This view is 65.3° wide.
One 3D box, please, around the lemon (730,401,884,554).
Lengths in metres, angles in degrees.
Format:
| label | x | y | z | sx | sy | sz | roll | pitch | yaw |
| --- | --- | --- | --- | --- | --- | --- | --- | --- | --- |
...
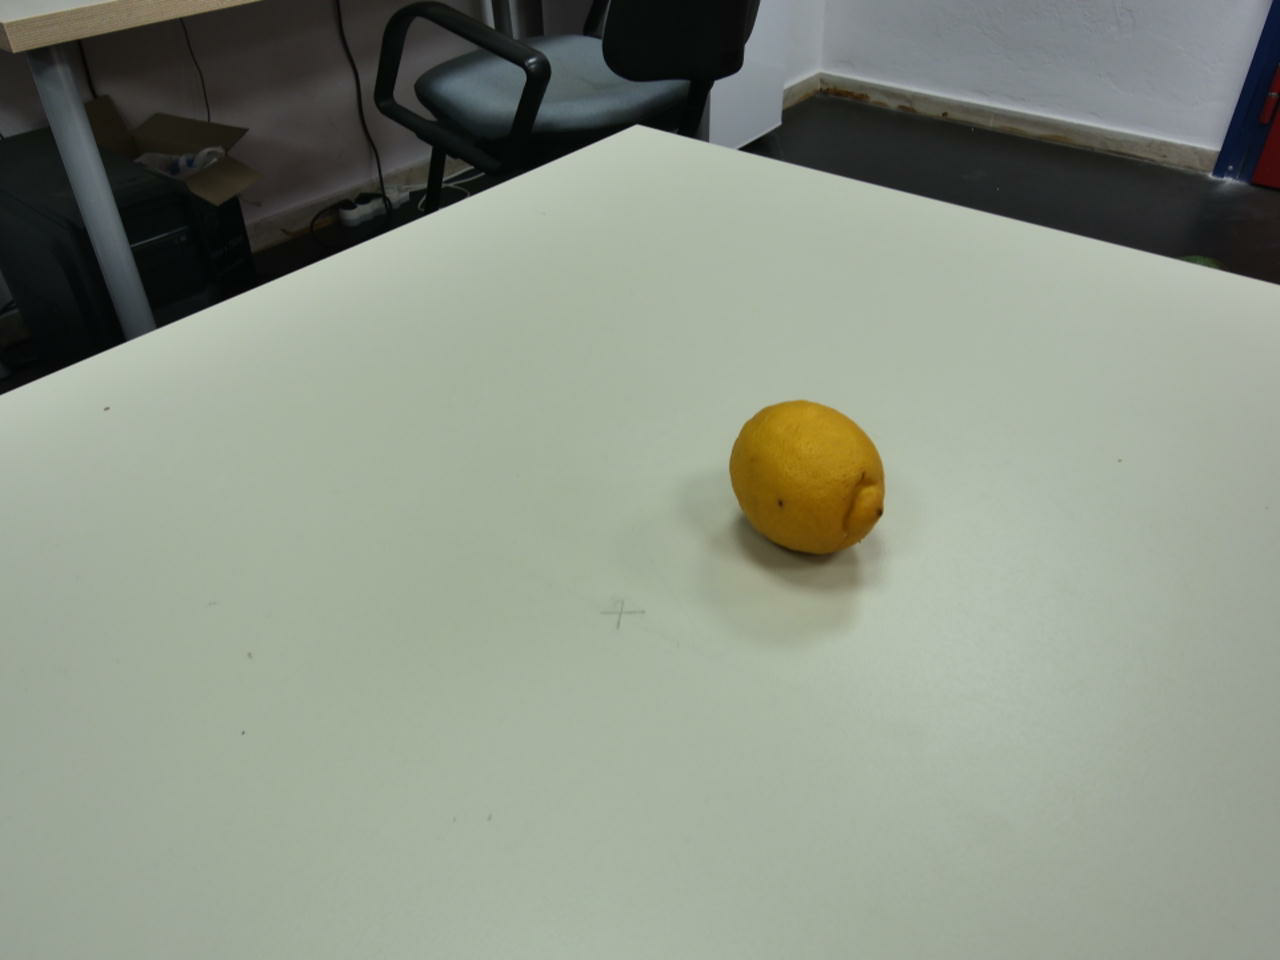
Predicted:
| label | x | y | z | sx | sy | sz | roll | pitch | yaw |
| --- | --- | --- | --- | --- | --- | --- | --- | --- | --- |
| lemon | 0.069 | -0.001 | 0.413 | 0.061 | 0.059 | 0.067 | -5 | 36 | -6 |
